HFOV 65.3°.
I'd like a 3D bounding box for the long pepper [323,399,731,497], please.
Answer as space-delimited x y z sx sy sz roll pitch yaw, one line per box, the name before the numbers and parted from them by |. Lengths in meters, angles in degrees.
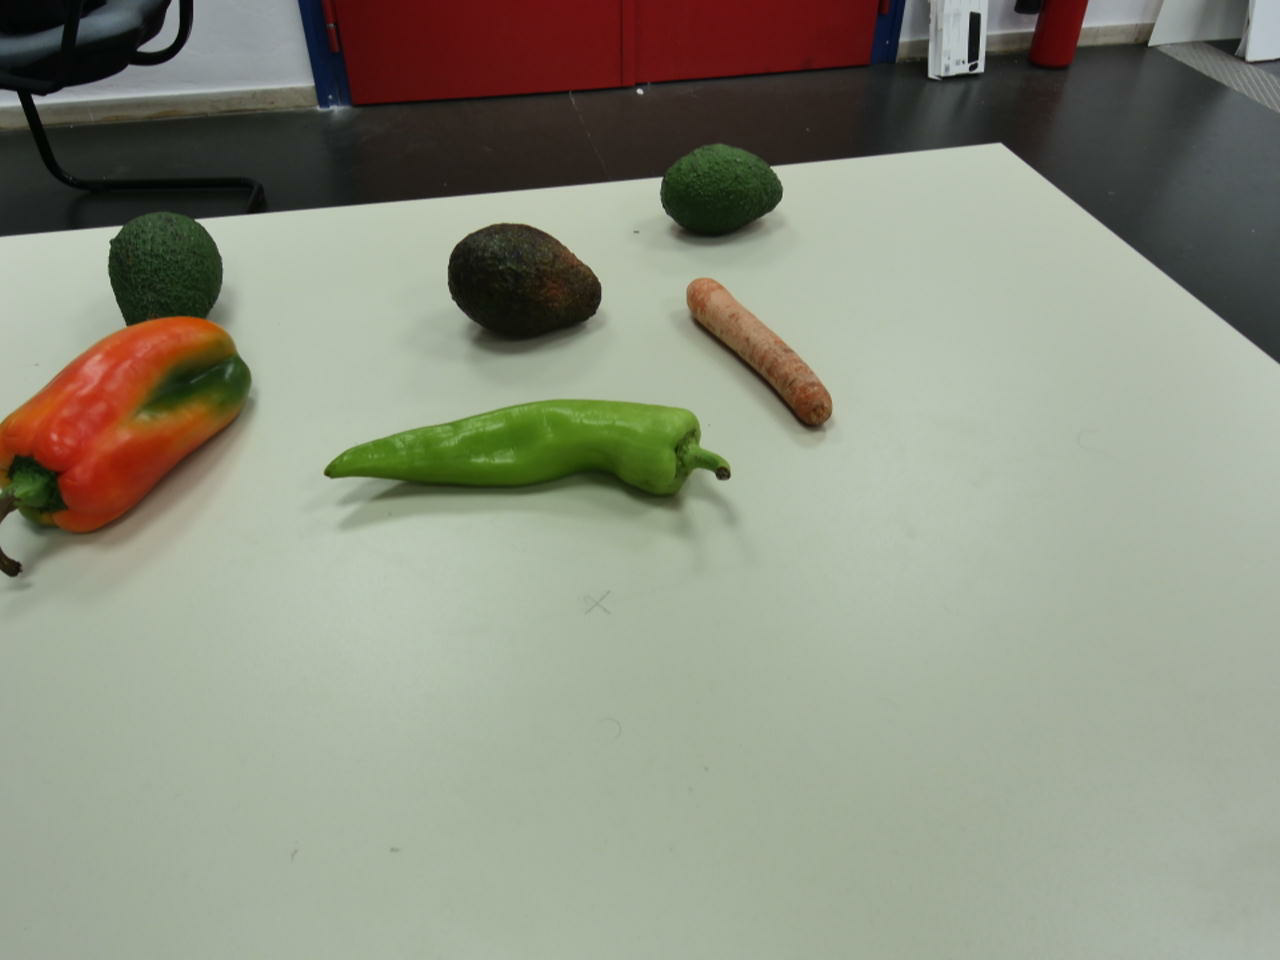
long pepper | -0.055 -0.018 0.520 0.205 0.045 0.065 3 39 3
